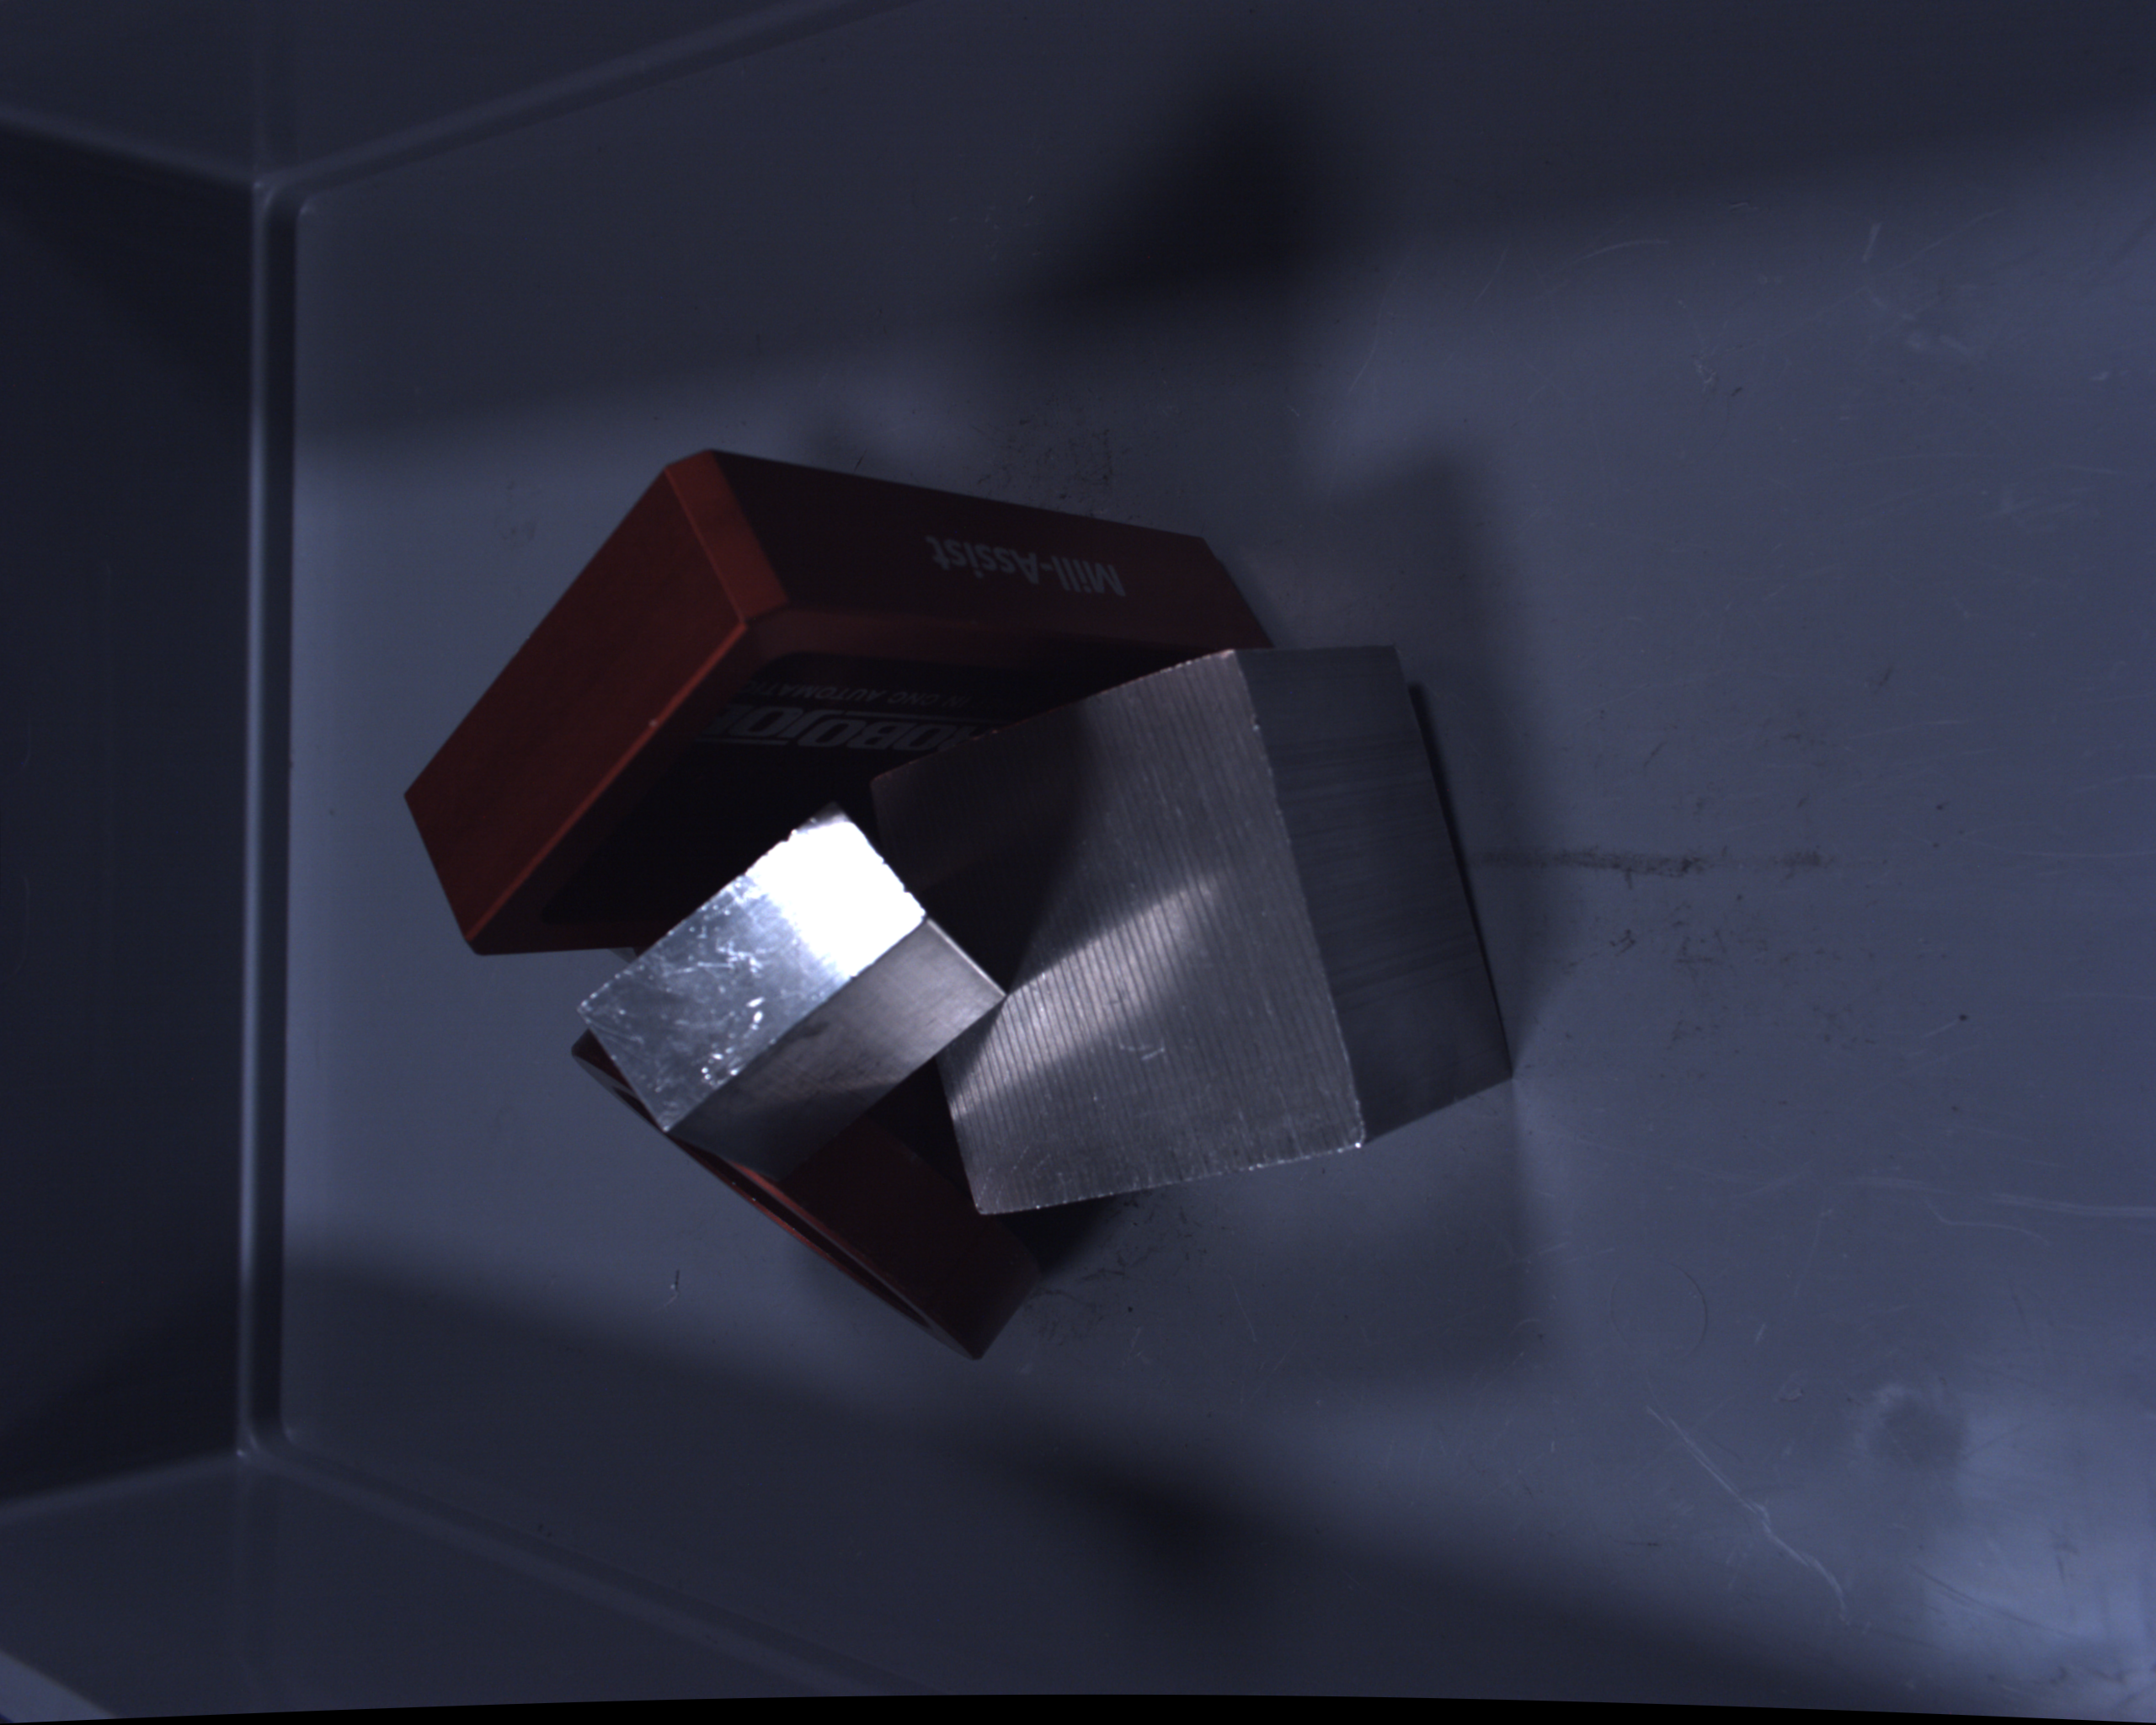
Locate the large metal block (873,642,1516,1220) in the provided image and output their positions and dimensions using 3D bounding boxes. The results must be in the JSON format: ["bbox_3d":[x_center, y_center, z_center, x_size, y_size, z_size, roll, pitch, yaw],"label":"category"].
[{"bbox_3d":[0.019,0.012,0.362,0.080,0.050,0.080,-18,83,38],"label":"large metal block"}]

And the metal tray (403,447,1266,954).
[{"bbox_3d":[-0.037,-0.024,0.364,0.090,0.131,0.030,-42,66,31],"label":"metal tray"}]

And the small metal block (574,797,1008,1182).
[{"bbox_3d":[-0.044,0.022,0.334,0.050,0.050,0.025,-39,70,-2],"label":"small metal block"}]

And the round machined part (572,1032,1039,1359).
[{"bbox_3d":[-0.046,0.050,0.405,0.098,0.098,0.042,26,71,36],"label":"round machined part"}]

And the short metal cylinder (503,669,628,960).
[{"bbox_3d":[-0.075,-0.016,0.428,0.050,0.081,0.079,28,108,36],"label":"short metal cylinder"}]
